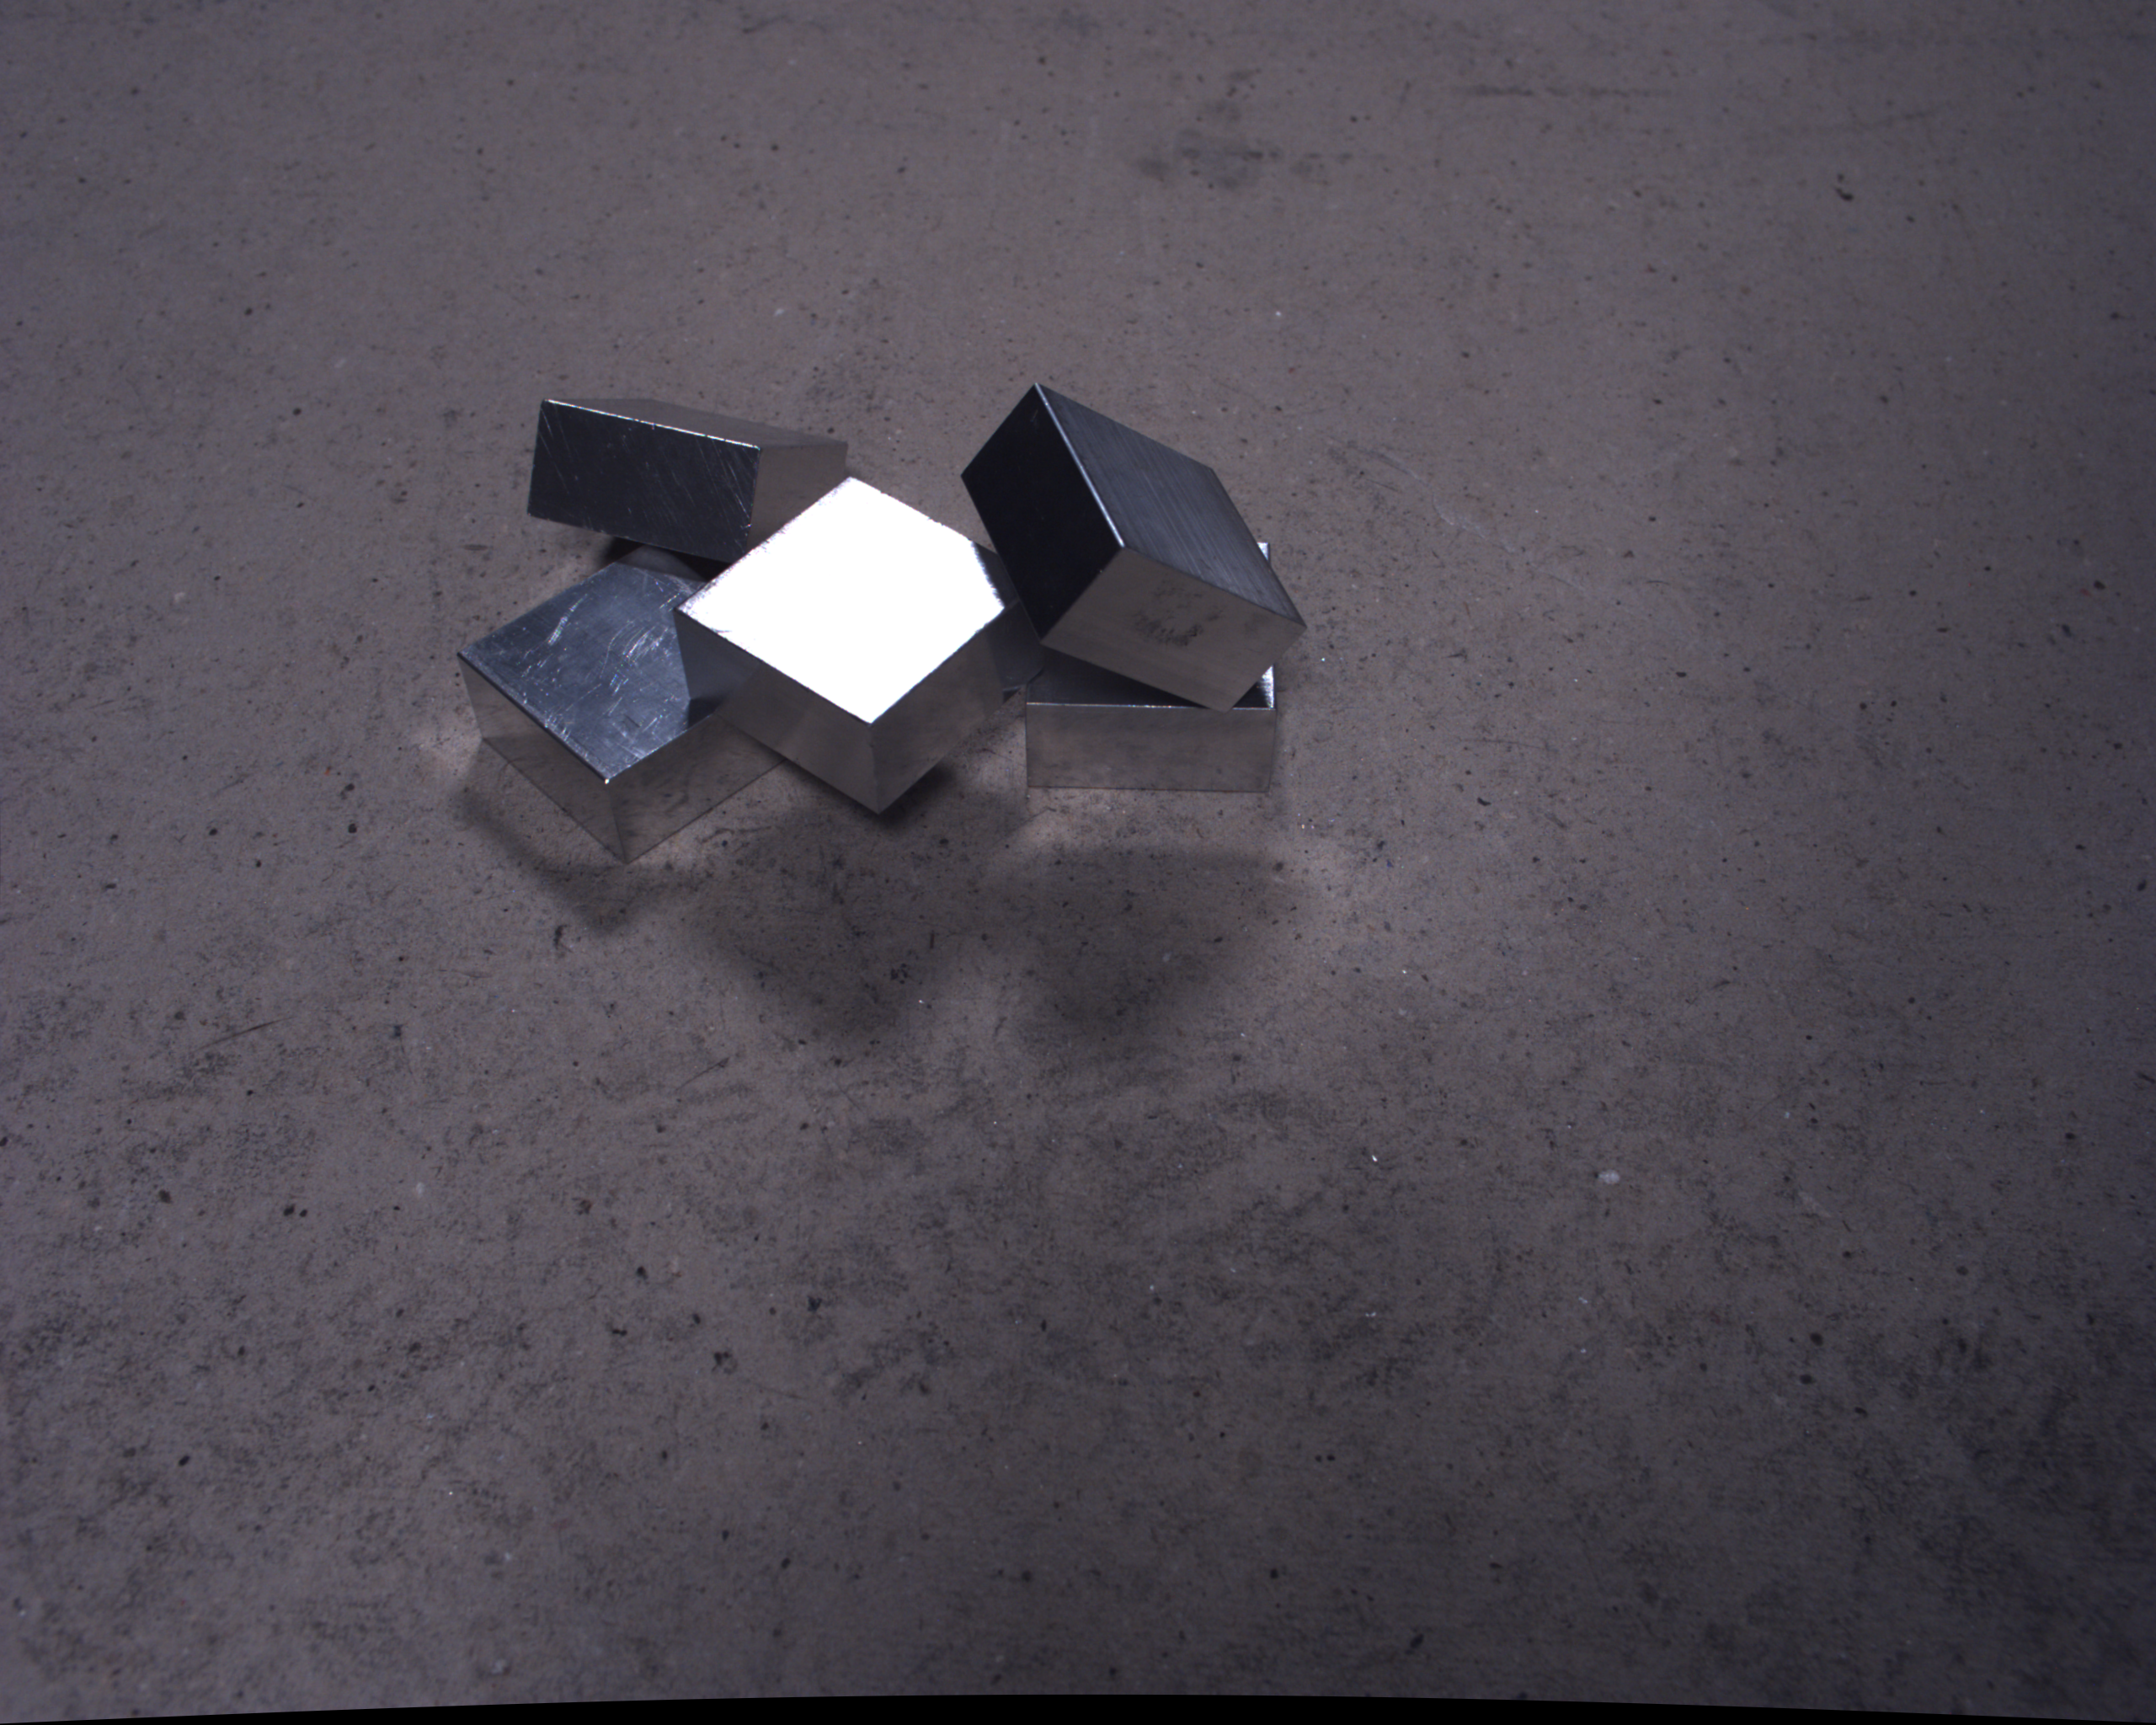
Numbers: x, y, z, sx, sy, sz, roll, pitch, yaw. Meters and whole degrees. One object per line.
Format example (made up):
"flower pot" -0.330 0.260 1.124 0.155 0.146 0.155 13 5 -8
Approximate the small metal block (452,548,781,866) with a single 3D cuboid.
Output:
"small metal block" -0.091 -0.034 0.432 0.050 0.025 0.050 38 59 27

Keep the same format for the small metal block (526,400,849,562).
"small metal block" -0.085 -0.084 0.459 0.050 0.025 0.050 15 15 11

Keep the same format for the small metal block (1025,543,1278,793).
"small metal block" 0.015 -0.042 0.440 0.050 0.025 0.050 2 50 1

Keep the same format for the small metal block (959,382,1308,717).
"small metal block" 0.010 -0.061 0.407 0.050 0.025 0.050 17 37 -41

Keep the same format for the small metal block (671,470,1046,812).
"small metal block" -0.042 -0.044 0.407 0.050 0.025 0.050 31 56 23
